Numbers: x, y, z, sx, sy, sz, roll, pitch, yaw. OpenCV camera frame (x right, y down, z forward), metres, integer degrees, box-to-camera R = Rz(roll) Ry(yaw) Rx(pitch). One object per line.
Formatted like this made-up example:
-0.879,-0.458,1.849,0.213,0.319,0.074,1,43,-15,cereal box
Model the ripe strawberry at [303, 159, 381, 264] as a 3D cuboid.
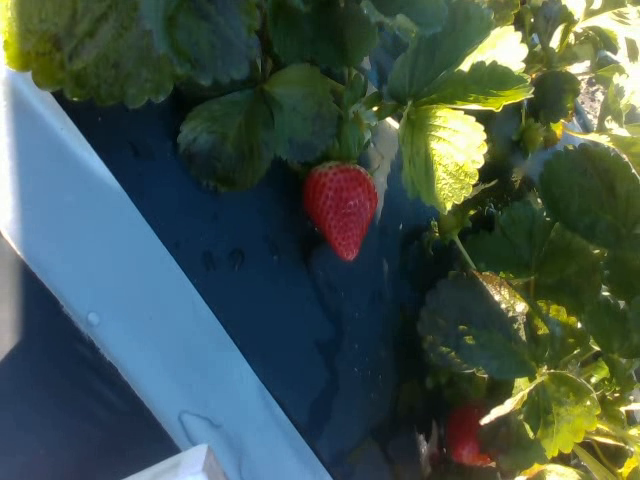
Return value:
0.012,-0.014,0.303,0.046,0.058,0.042,3,-12,-4,ripe strawberry
